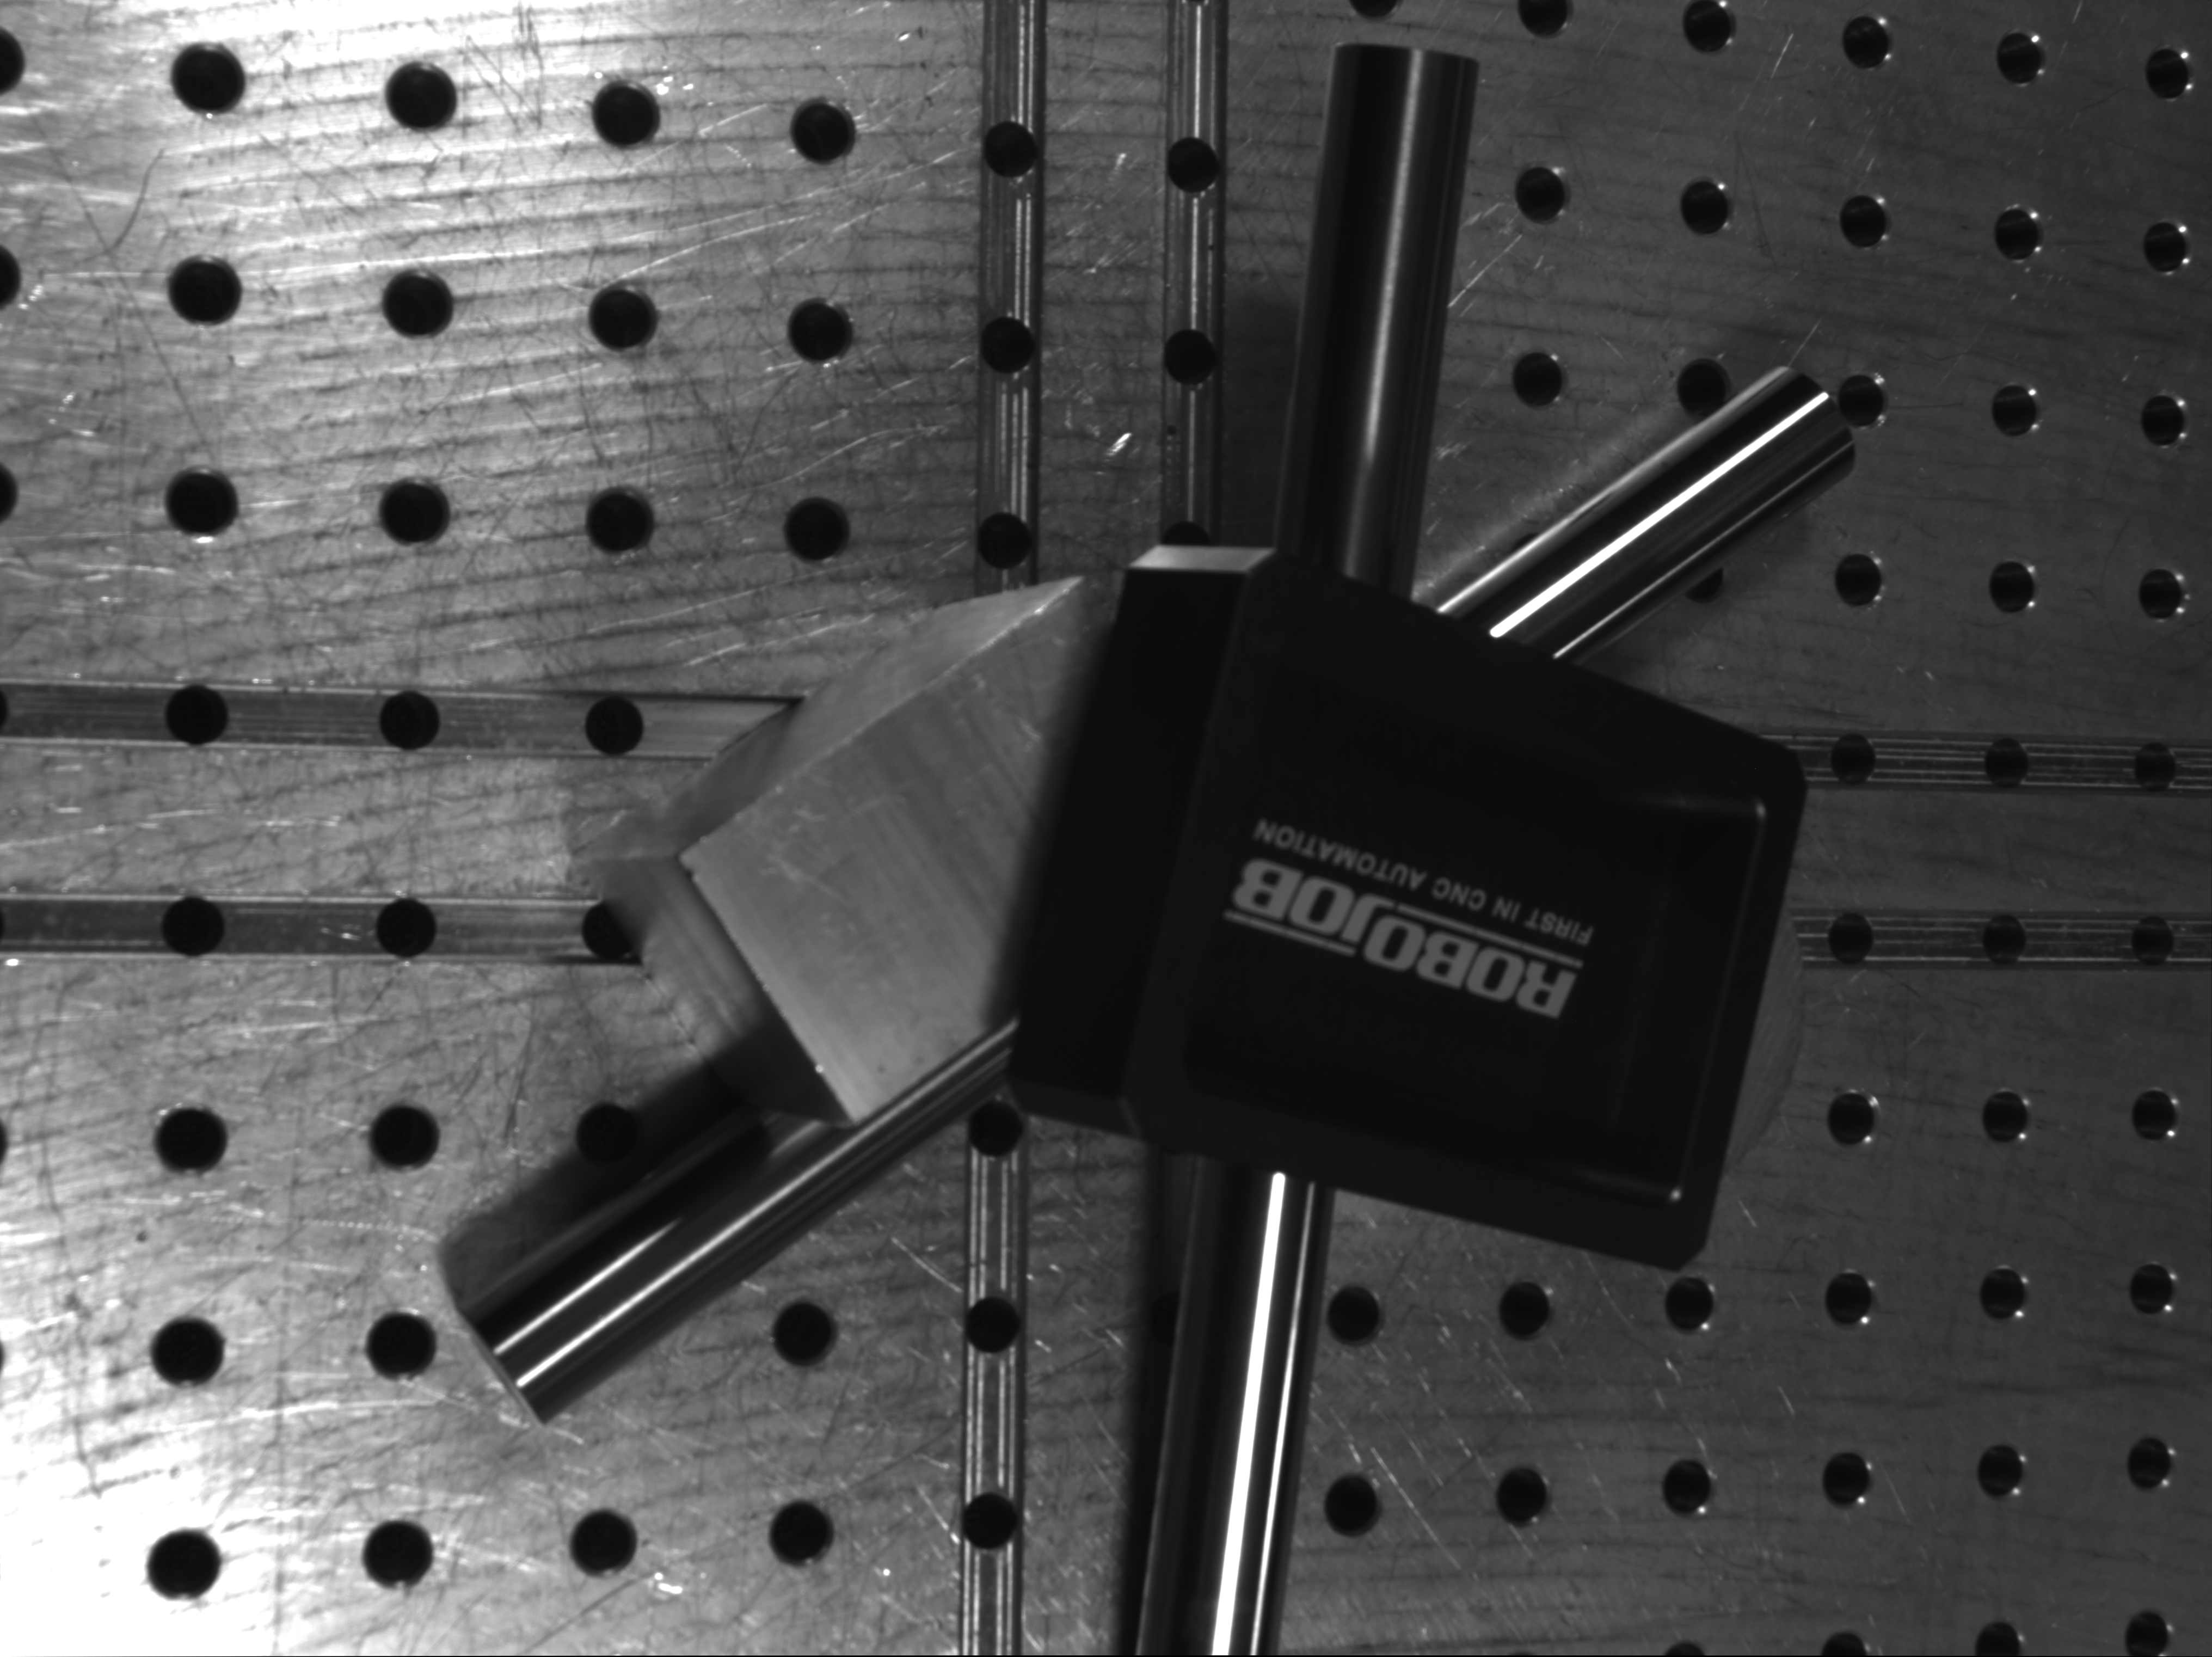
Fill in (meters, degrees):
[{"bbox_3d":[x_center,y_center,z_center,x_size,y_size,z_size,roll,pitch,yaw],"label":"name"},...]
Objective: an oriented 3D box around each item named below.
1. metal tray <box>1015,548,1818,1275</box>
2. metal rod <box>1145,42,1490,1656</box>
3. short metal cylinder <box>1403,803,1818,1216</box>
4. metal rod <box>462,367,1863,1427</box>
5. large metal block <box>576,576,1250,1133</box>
[{"bbox_3d":[0.053,0.015,0.588,0.130,0.030,0.090,17,84,-38],"label":"metal tray"},{"bbox_3d":[0.035,0.017,0.634,0.025,0.025,0.300,4,98,-20],"label":"metal rod"},{"bbox_3d":[0.081,0.031,0.661,0.080,0.050,0.080,0,90,-20],"label":"short metal cylinder"},{"bbox_3d":[0.017,0.006,0.653,0.300,0.025,0.025,-35,101,-17],"label":"metal rod"},{"bbox_3d":[-0.033,0.004,0.604,0.080,0.080,0.050,-35,101,-16],"label":"large metal block"}]
